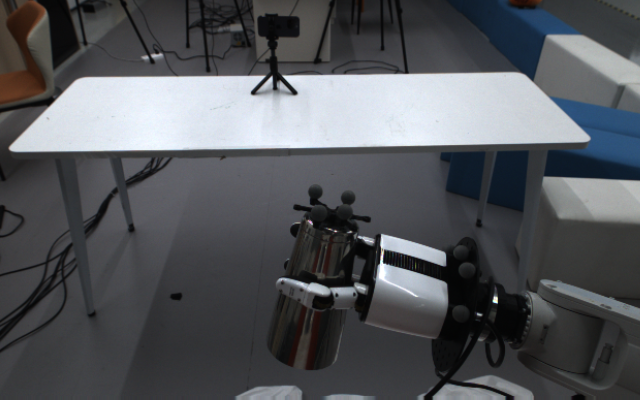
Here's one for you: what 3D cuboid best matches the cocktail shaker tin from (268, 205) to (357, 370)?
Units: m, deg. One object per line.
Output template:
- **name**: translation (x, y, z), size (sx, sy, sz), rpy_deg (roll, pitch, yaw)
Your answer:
- **cocktail shaker tin**: translation (-0.002, 0.101, 0.574), size (0.093, 0.170, 0.093), rpy_deg (11, 19, -4)
